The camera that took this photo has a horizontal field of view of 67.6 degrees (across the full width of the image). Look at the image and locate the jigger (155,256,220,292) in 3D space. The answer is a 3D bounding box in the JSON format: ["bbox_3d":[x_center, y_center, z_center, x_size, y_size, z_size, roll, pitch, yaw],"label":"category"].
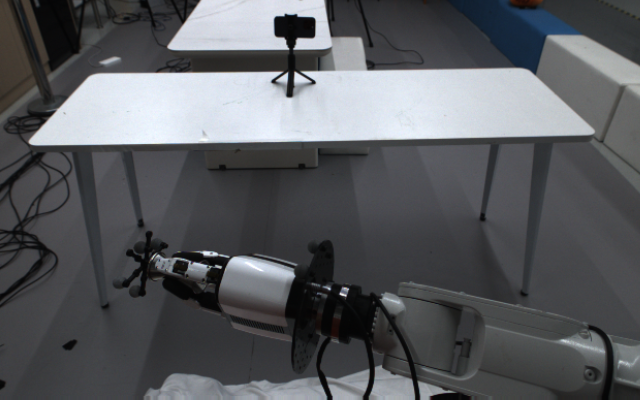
[{"bbox_3d":[-0.177,0.090,0.625,0.071,0.043,0.043,10,35,16],"label":"jigger"}]
